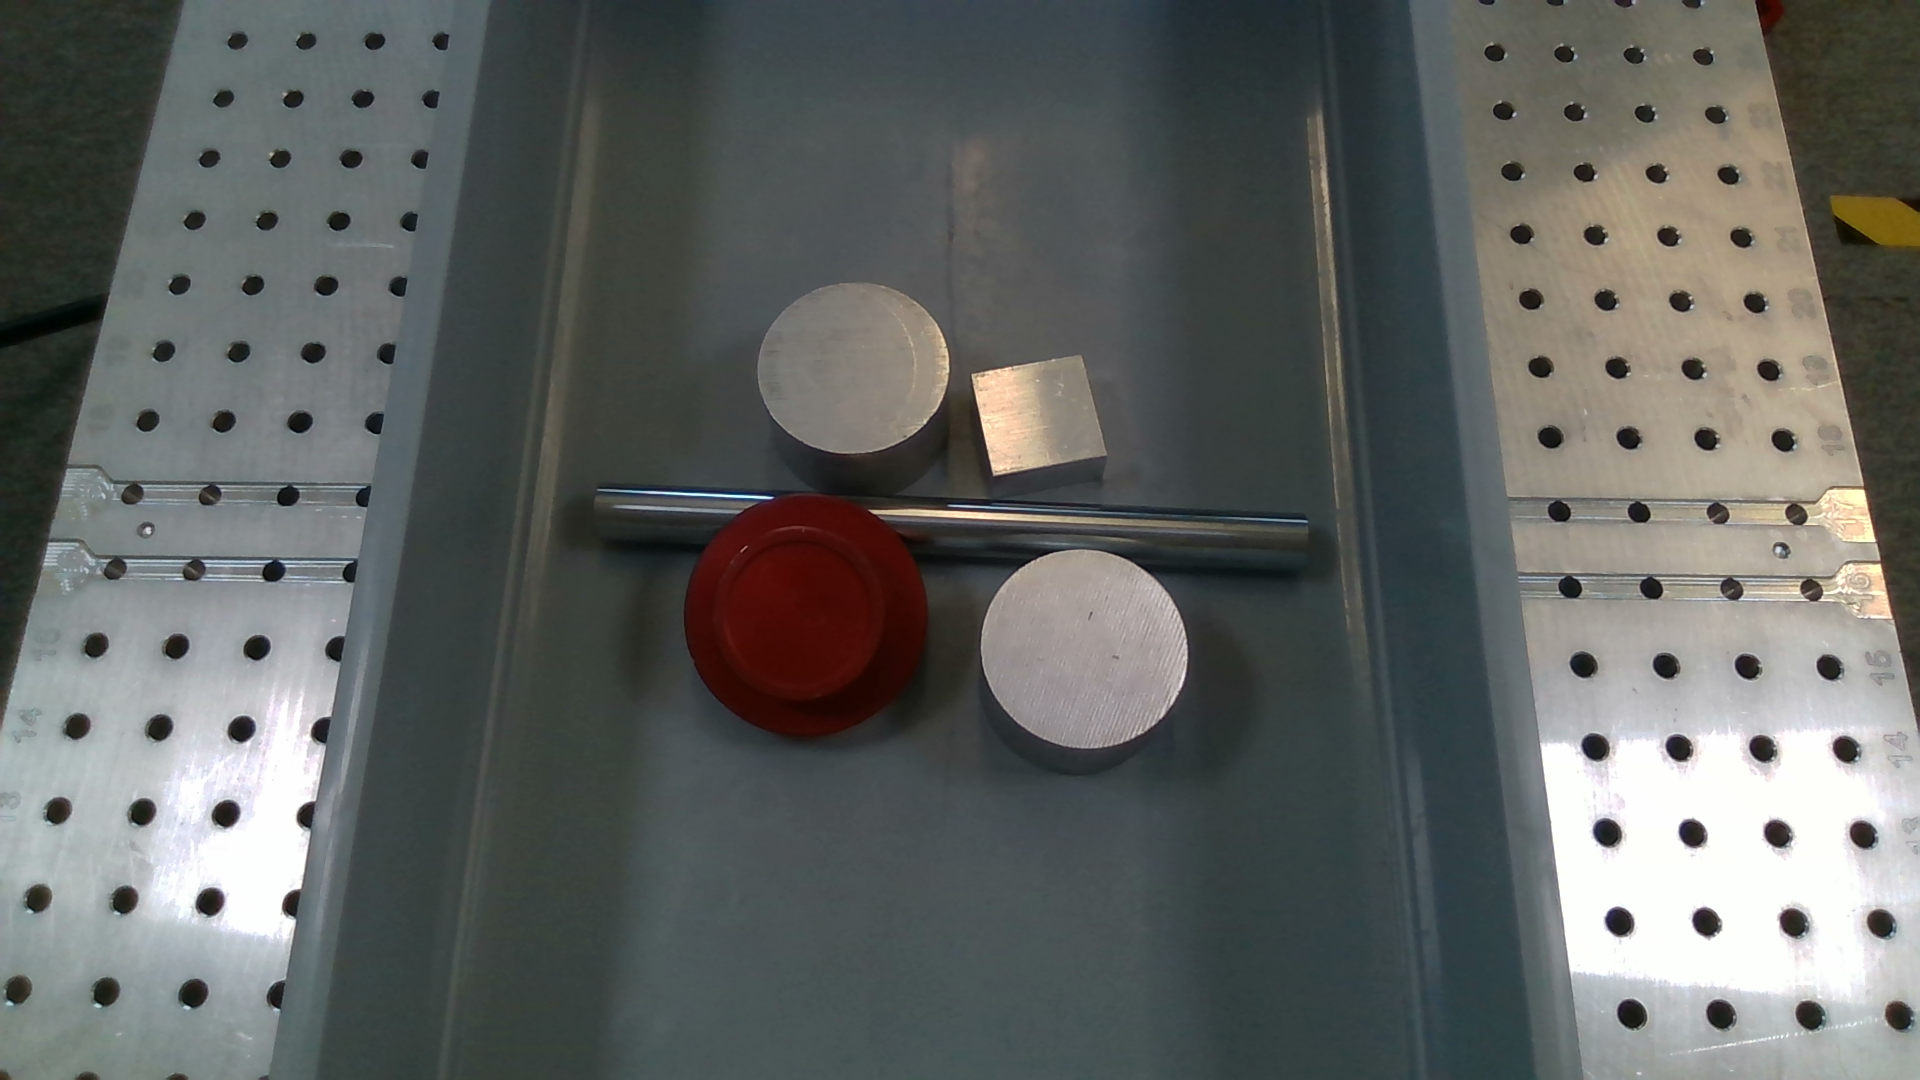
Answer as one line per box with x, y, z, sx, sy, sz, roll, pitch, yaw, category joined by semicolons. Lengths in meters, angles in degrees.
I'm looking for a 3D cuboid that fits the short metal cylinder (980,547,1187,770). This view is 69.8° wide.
0.048;0.049;0.556;0.080;0.050;0.080;0;70;0;short metal cylinder

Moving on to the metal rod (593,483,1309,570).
-0.004;-0.006;0.589;0.300;0.025;0.025;3;70;1;metal rod

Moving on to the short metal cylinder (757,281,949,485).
-0.045;-0.064;0.596;0.080;0.050;0.080;0;70;0;short metal cylinder

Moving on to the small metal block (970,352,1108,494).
0.034;-0.050;0.605;0.050;0.025;0.050;-11;71;-4;small metal block

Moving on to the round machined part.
-0.063;0.029;0.554;0.098;0.042;0.098;0;86;-1;round machined part
